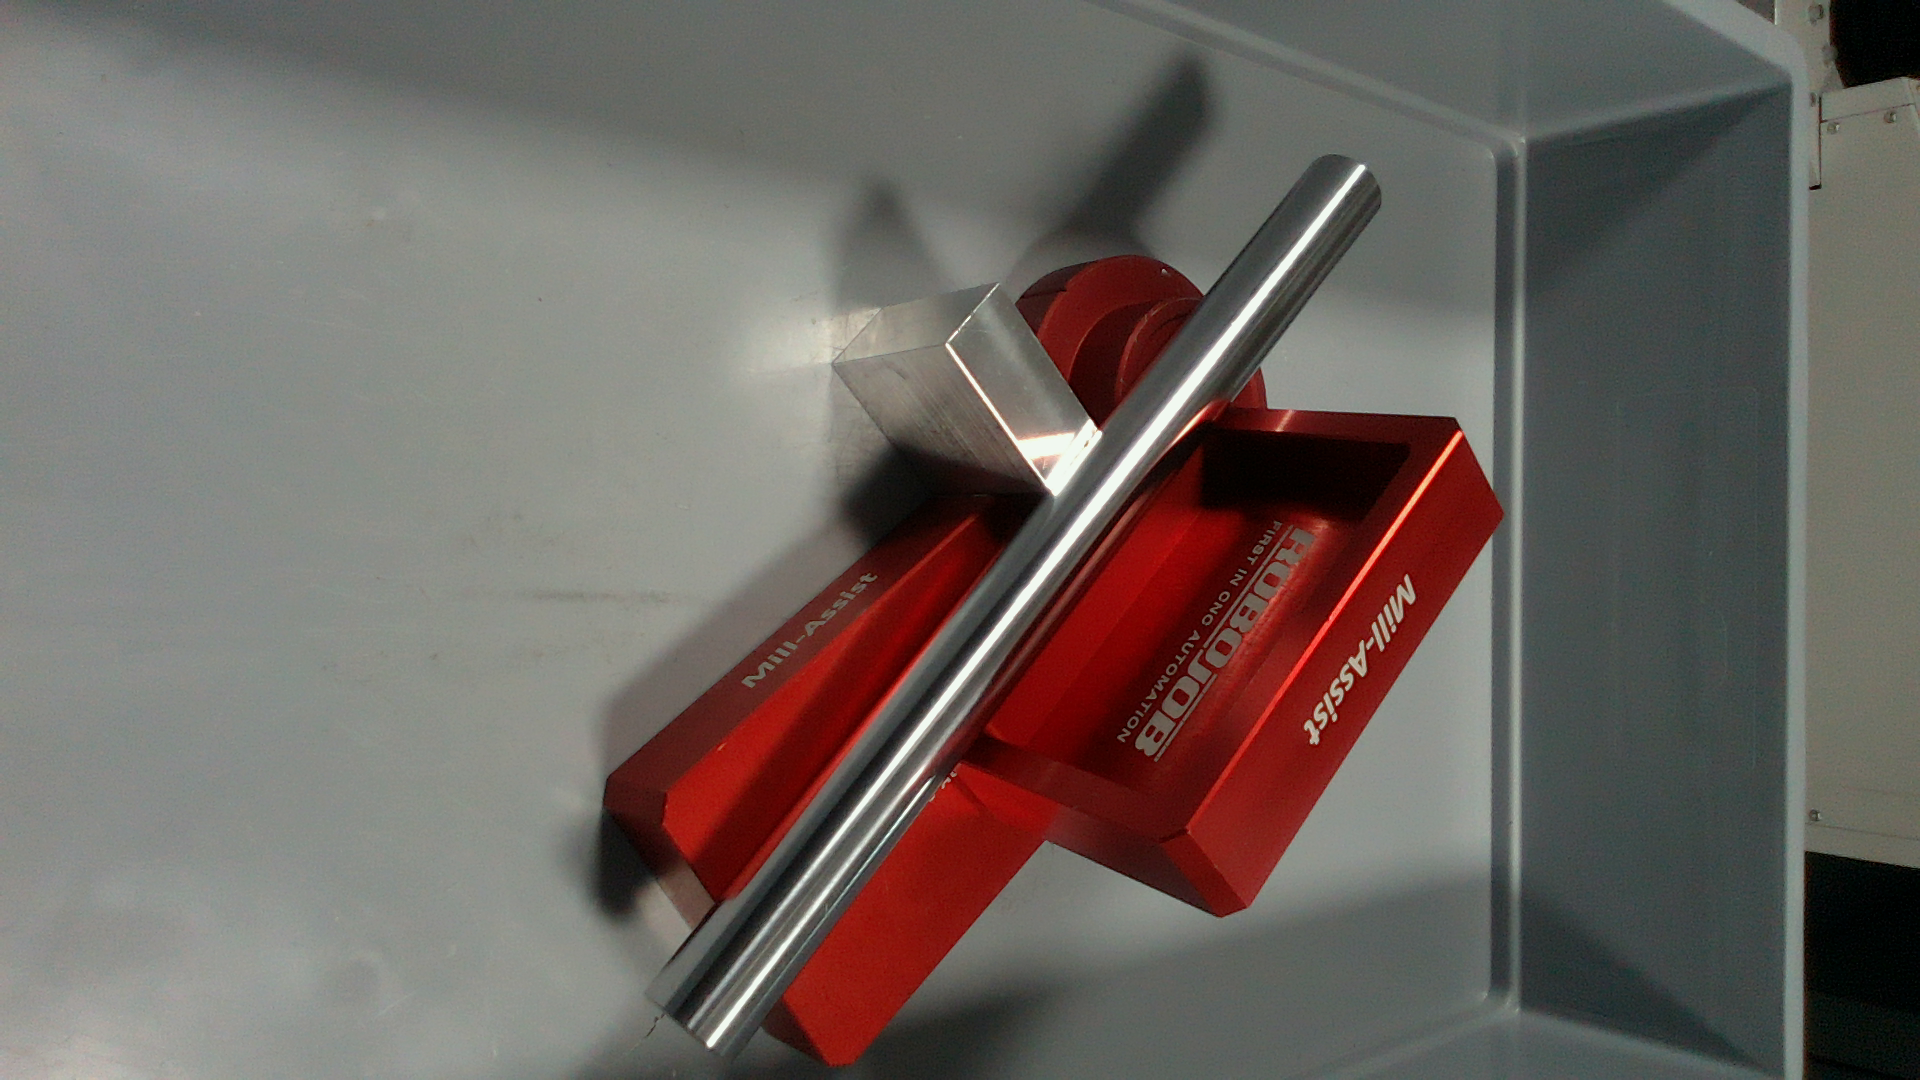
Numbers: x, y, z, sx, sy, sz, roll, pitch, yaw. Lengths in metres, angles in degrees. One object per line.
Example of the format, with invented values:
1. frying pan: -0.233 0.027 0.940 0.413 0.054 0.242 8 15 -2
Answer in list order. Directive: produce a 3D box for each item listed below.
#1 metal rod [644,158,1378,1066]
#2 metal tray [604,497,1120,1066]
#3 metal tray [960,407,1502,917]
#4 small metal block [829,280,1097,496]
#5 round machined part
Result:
1. metal rod: 0.028 0.001 0.360 0.301 0.025 0.025 -51 120 -23
2. metal tray: -0.018 0.060 0.369 0.130 0.030 0.090 -42 116 -32
3. metal tray: 0.065 0.022 0.351 0.130 0.090 0.030 -50 122 -20
4. small metal block: 0.001 -0.039 0.372 0.025 0.050 0.050 -52 120 -27
5. round machined part: 0.057 -0.039 0.423 0.098 0.042 0.098 0 90 -40
